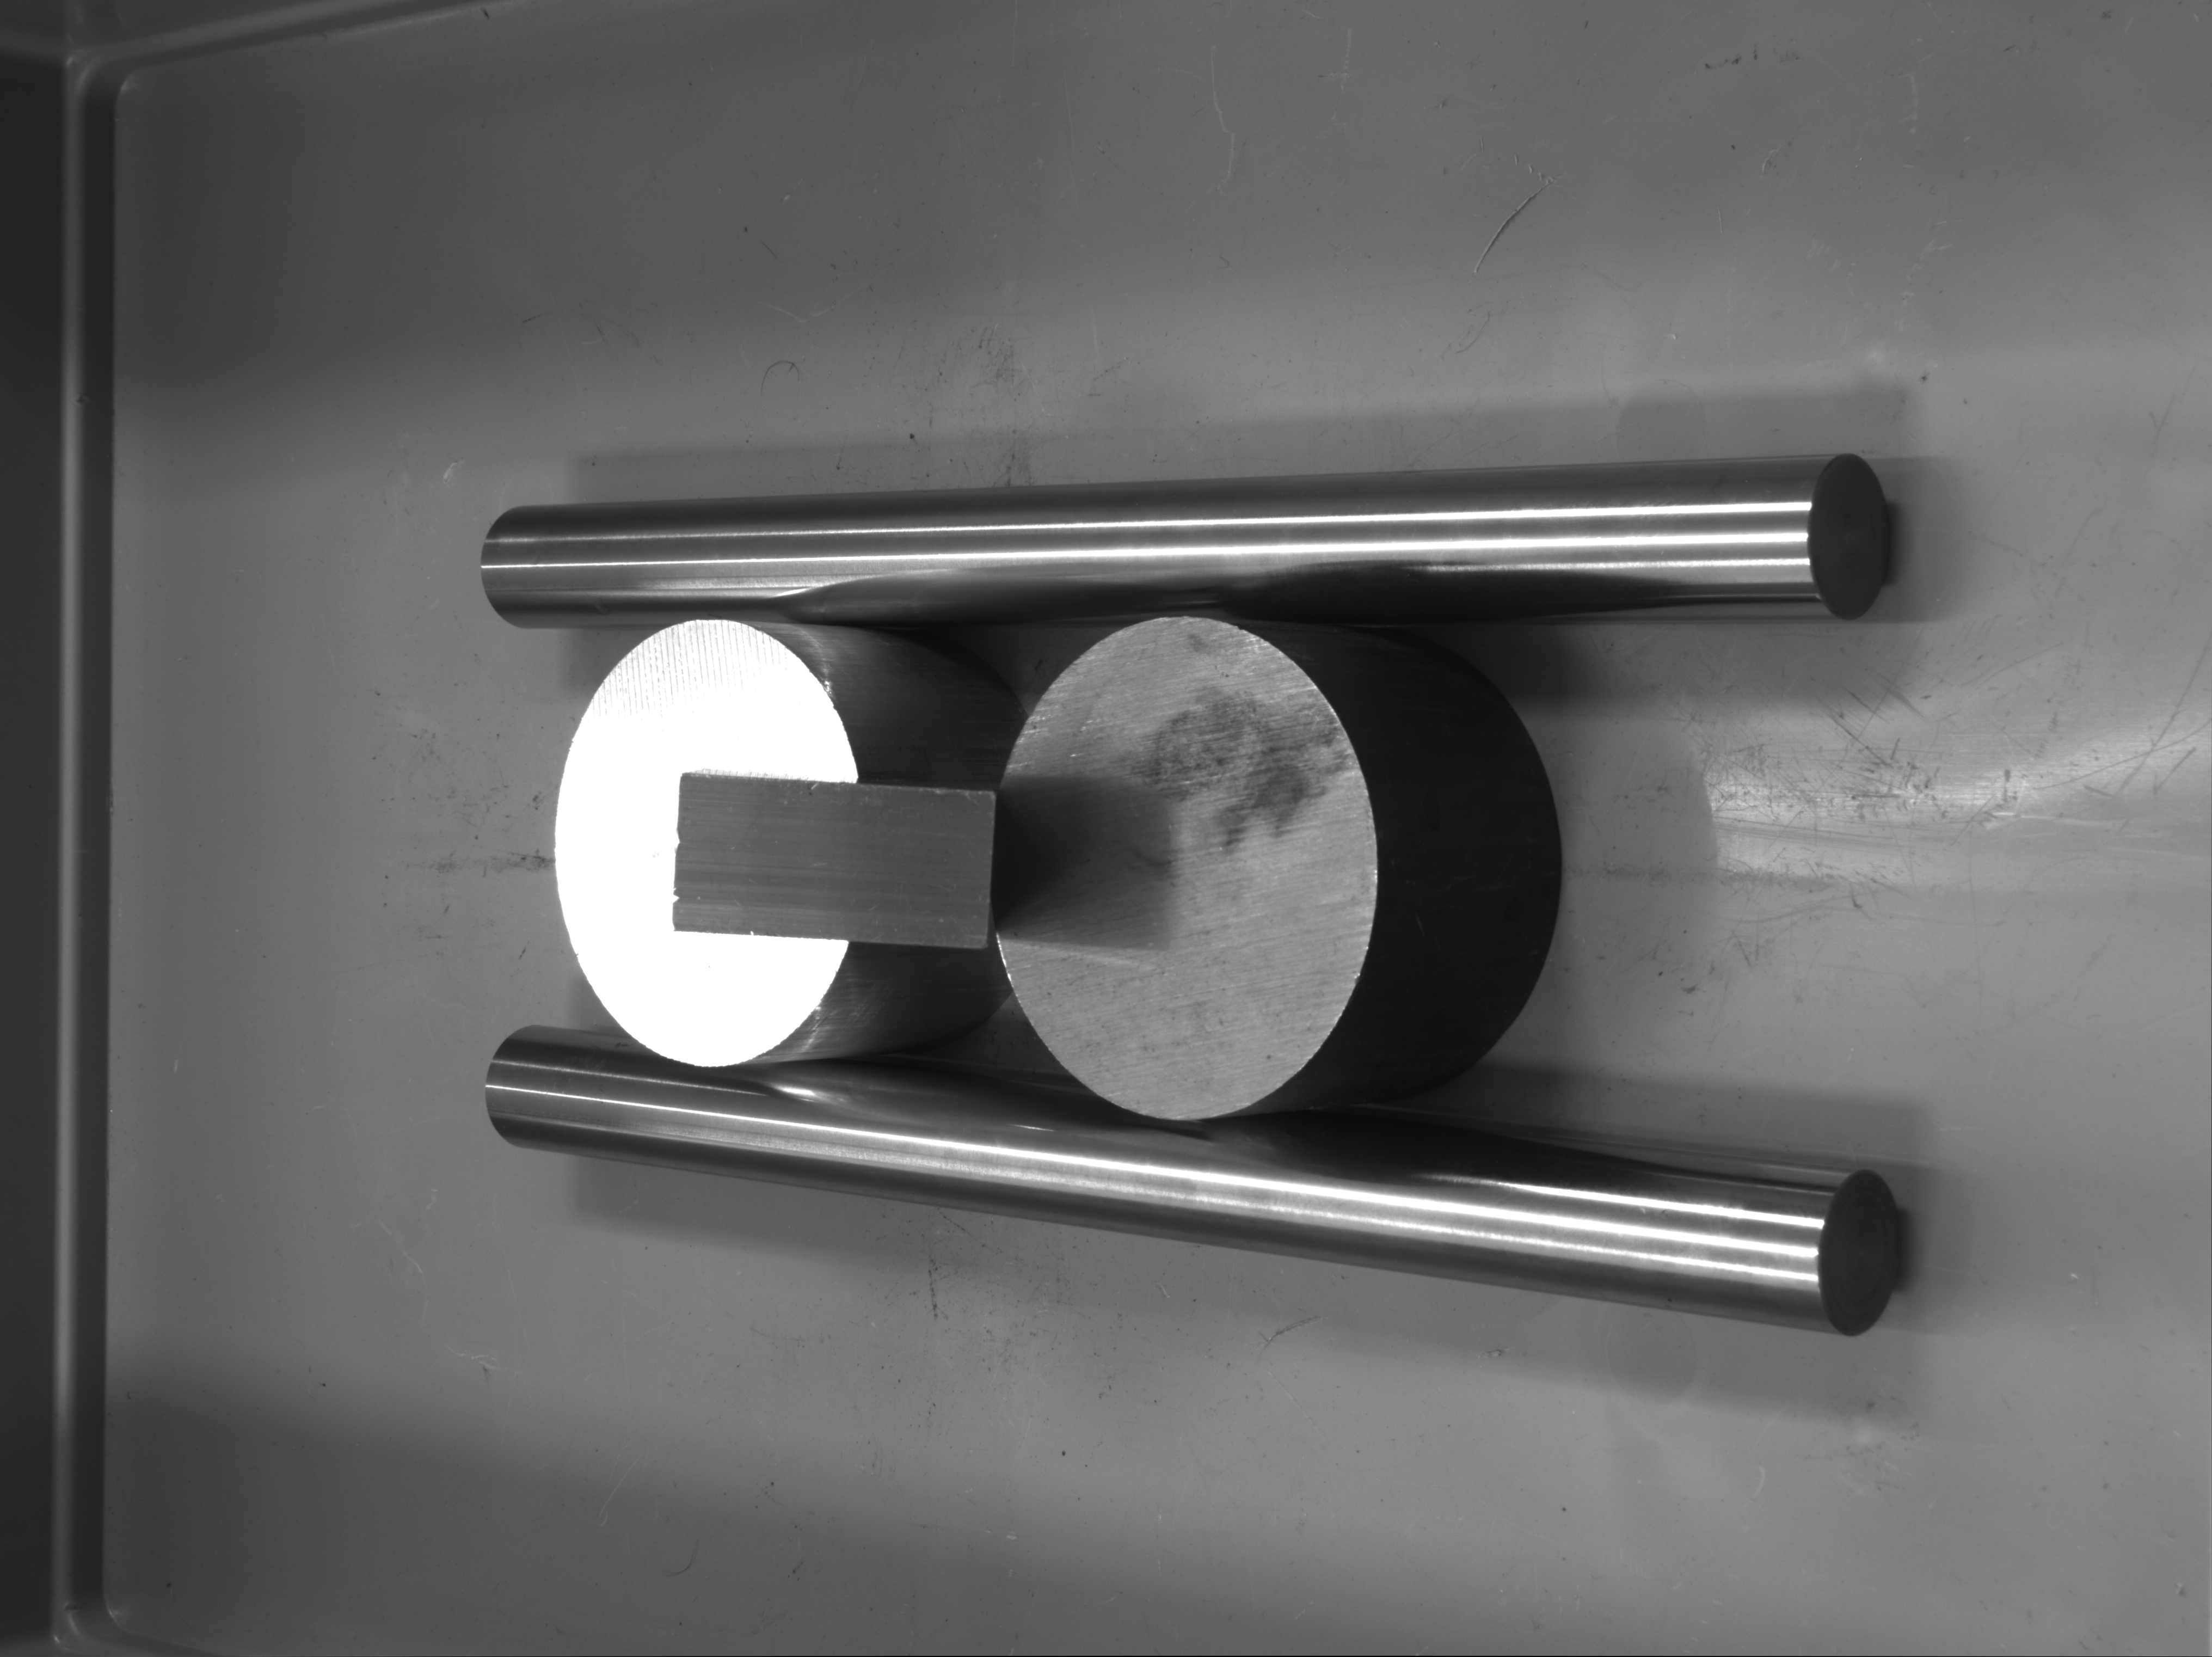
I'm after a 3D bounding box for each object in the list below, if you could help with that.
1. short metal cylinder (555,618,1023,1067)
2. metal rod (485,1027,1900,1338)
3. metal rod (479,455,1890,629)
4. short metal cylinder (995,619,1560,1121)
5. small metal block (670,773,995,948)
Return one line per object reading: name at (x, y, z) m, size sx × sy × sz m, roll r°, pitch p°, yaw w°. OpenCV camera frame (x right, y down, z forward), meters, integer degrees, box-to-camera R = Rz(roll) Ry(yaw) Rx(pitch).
short metal cylinder at (-0.056, 0.003, 0.675) m, size 0.080 × 0.050 × 0.080 m, roll 0°, pitch 90°, yaw 40°
metal rod at (-0.001, 0.058, 0.645) m, size 0.299 × 0.025 × 0.025 m, roll 3°, pitch 92°, yaw 40°
metal rod at (-0.003, -0.048, 0.647) m, size 0.299 × 0.025 × 0.025 m, roll 2°, pitch 91°, yaw 40°
short metal cylinder at (0.027, 0.007, 0.605) m, size 0.080 × 0.050 × 0.080 m, roll 0°, pitch 90°, yaw 40°
small metal block at (-0.044, 0.005, 0.605) m, size 0.050 × 0.050 × 0.025 m, roll 3°, pitch 91°, yaw -3°
